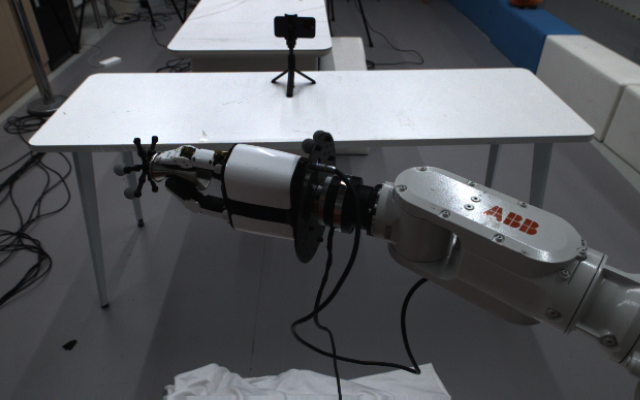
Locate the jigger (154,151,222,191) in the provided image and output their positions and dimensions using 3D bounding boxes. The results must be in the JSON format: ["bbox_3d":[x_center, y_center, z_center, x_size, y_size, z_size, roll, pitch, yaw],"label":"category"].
[{"bbox_3d":[-0.176,-0.043,0.631,0.071,0.043,0.043,8,35,13],"label":"jigger"}]
